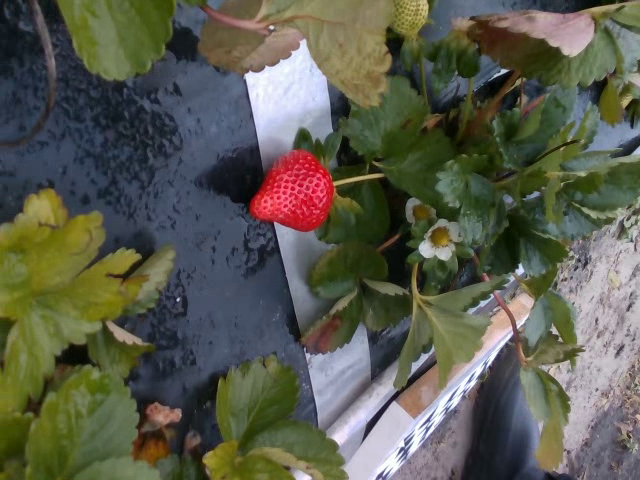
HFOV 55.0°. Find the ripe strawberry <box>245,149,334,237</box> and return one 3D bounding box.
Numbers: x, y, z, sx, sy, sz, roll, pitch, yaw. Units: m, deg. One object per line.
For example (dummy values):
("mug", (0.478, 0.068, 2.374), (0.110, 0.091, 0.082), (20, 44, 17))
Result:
("ripe strawberry", (-0.015, -0.020, 0.274), (0.037, 0.042, 0.051), (44, 38, 19))
